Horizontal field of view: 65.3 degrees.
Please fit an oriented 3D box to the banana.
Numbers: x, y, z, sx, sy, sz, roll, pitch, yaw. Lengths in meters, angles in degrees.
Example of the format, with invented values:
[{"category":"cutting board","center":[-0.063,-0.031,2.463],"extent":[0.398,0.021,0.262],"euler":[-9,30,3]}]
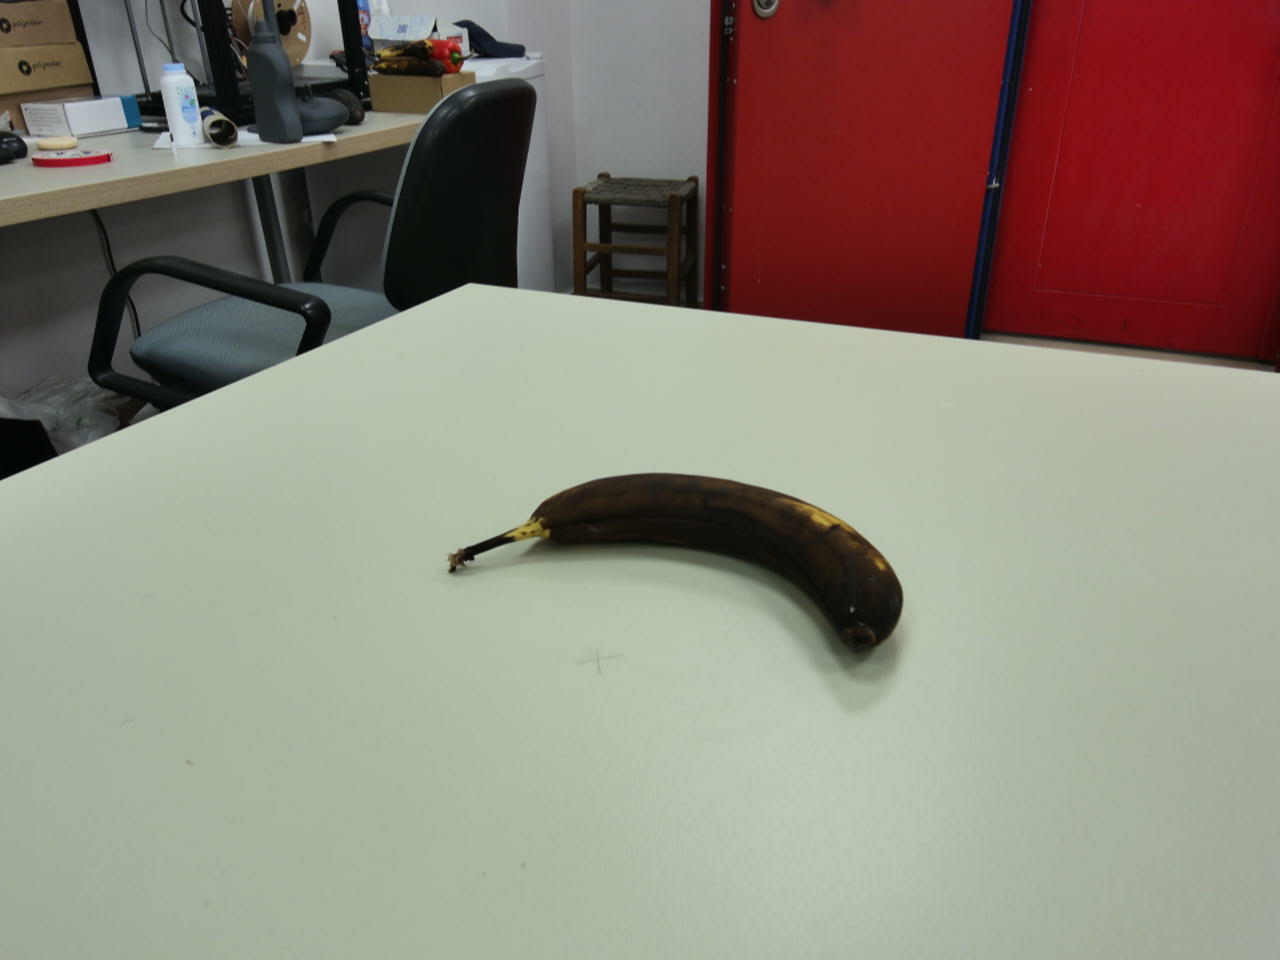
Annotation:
[{"category":"banana","center":[0.020,0.024,0.420],"extent":[0.188,0.034,0.091],"euler":[11,26,25]}]
